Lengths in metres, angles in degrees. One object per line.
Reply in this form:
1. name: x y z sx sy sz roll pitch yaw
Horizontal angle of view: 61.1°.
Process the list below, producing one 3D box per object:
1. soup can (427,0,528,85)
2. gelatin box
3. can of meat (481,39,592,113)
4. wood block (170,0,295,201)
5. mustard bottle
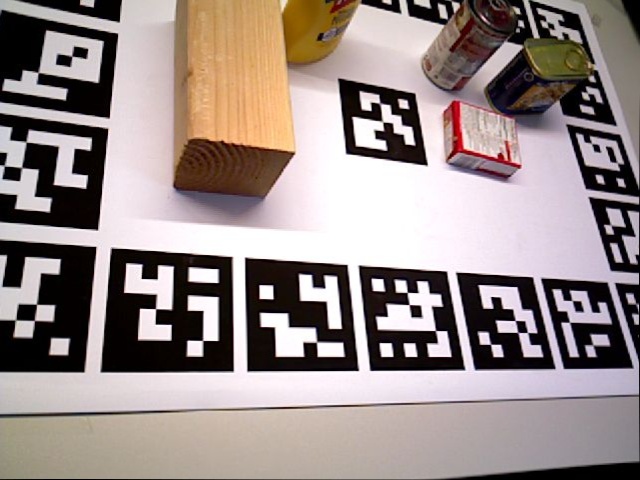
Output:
1. soup can: 0.179 -0.239 0.630 0.067 0.104 0.067 8 66 -19
2. gelatin box: 0.194 -0.114 0.629 0.088 0.031 0.072 13 65 -14
3. can of meat: 0.264 -0.204 0.672 0.100 0.085 0.057 -10 72 -29
4. wood block: -0.085 -0.151 0.499 0.090 0.092 0.204 5 62 -23
5. mustard bottle: 0.013 -0.259 0.533 0.094 0.196 0.058 -23 76 -31
